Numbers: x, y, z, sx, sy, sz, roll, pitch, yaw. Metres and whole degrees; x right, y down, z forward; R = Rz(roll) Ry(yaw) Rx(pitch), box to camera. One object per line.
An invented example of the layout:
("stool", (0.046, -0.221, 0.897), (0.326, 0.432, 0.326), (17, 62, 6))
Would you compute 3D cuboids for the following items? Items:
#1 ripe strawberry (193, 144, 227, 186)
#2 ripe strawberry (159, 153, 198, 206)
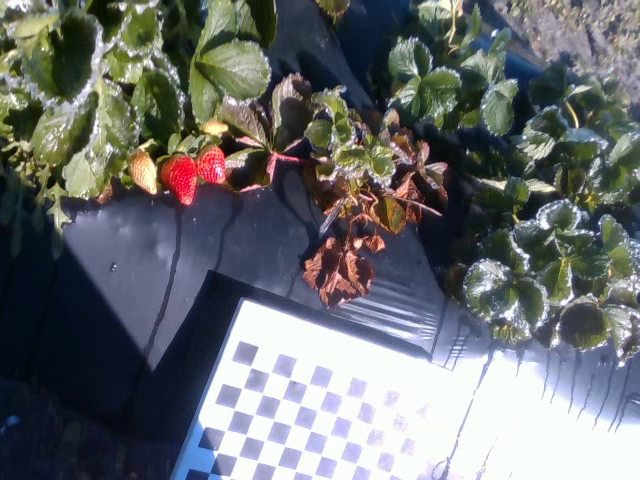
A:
("ripe strawberry", (-0.104, -0.074, 0.653), (0.036, 0.041, 0.030), (-42, 17, -9))
("ripe strawberry", (-0.128, -0.053, 0.628), (0.036, 0.052, 0.040), (-18, -21, -18))
